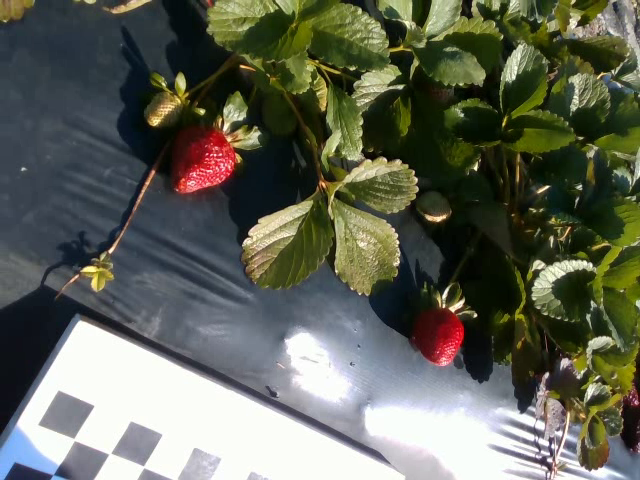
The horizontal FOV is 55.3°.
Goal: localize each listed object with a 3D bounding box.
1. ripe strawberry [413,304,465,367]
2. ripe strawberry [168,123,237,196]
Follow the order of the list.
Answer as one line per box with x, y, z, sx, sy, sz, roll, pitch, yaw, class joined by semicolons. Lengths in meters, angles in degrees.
0.082;0.072;0.424;0.043;0.043;0.050;-11;22;20;ripe strawberry
-0.069;-0.043;0.343;0.043;0.053;0.042;-25;-58;30;ripe strawberry
